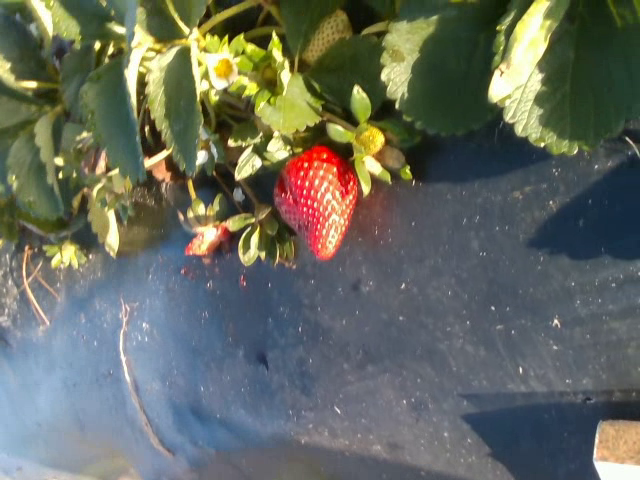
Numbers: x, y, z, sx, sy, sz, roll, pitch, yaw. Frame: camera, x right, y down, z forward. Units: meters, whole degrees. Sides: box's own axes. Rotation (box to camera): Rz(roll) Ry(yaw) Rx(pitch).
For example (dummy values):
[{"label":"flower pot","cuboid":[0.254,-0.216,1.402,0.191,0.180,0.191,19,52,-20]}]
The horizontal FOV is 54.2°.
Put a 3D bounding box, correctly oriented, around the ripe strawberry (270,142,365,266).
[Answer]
[{"label":"ripe strawberry","cuboid":[-0.003,-0.013,0.297,0.041,0.051,0.052,11,-33,-25]}]
